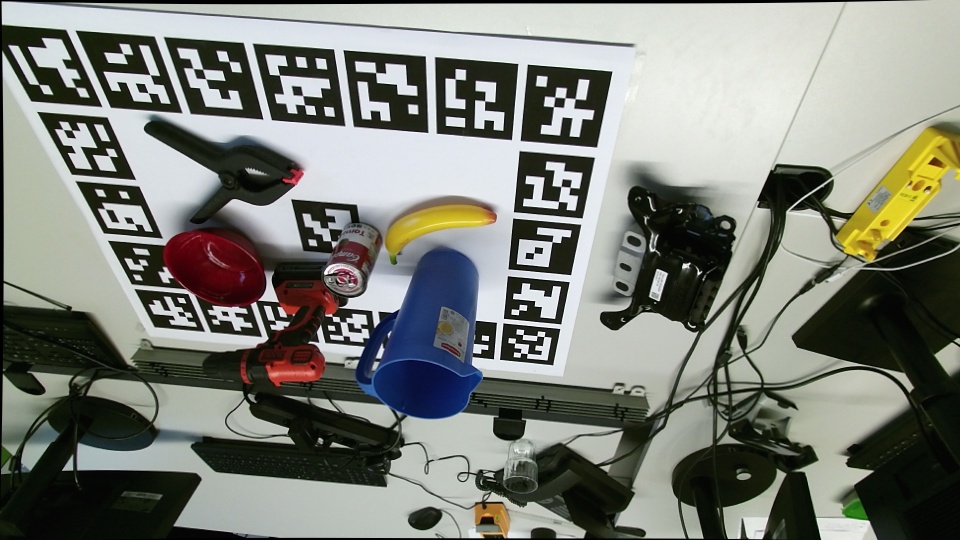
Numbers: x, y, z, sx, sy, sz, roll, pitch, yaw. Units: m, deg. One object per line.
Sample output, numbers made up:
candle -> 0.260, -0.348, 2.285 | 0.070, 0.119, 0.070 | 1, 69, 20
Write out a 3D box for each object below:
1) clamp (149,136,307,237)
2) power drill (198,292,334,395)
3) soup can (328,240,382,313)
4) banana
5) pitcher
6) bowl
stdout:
clamp -> -0.355, -0.111, 0.780 | 0.203, 0.036, 0.165 | 3, 125, 3
power drill -> -0.323, 0.115, 0.848 | 0.185, 0.186, 0.057 | 1, 129, 5
soup can -> -0.195, 0.011, 0.831 | 0.068, 0.101, 0.068 | 3, 137, 3
banana -> -0.066, -0.038, 0.821 | 0.198, 0.038, 0.074 | -15, 134, 19
pitcher -> -0.083, 0.113, 0.811 | 0.189, 0.241, 0.133 | -14, 129, 17
bowl -> -0.422, 0.008, 0.880 | 0.162, 0.055, 0.162 | 2, 128, 3
